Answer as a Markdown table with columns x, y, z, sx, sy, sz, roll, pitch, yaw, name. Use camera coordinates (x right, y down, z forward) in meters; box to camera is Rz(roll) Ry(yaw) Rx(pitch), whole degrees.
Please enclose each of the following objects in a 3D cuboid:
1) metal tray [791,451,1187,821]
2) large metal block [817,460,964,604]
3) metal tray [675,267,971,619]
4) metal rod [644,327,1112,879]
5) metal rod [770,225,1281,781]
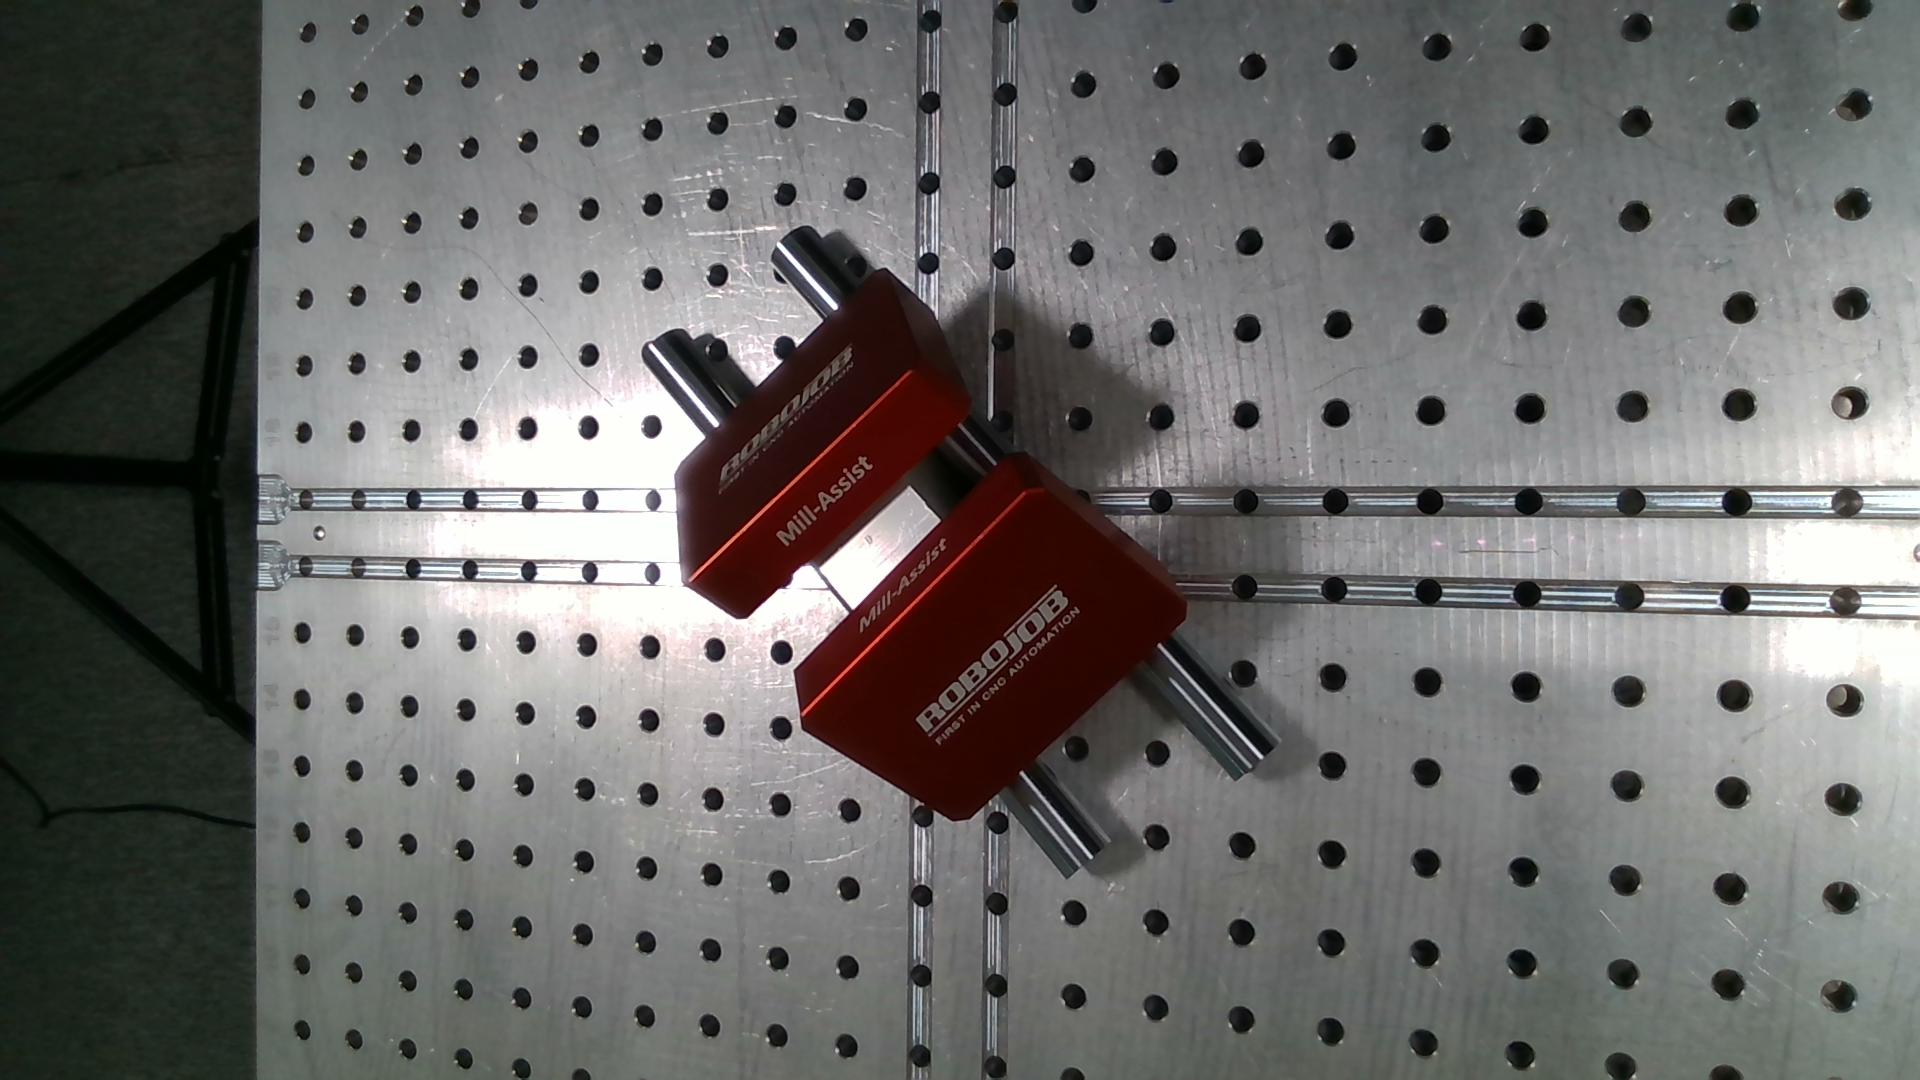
| x | y | z | sx | sy | sz | roll | pitch | yaw | name |
| --- | --- | --- | --- | --- | --- | --- | --- | --- | --- |
| 0.010 | 0.040 | 0.527 | 0.090 | 0.030 | 0.130 | 36 | 107 | -29 | metal tray |
| -0.014 | 0.006 | 0.563 | 0.050 | 0.080 | 0.080 | -44 | 76 | 15 | large metal block |
| -0.060 | -0.040 | 0.552 | 0.130 | 0.030 | 0.090 | -42 | 33 | 16 | metal tray |
| -0.041 | 0.021 | 0.604 | 0.025 | 0.025 | 0.300 | -44 | 76 | 15 | metal rod |
| 0.021 | -0.022 | 0.580 | 0.025 | 0.025 | 0.300 | -45 | 76 | 15 | metal rod |
